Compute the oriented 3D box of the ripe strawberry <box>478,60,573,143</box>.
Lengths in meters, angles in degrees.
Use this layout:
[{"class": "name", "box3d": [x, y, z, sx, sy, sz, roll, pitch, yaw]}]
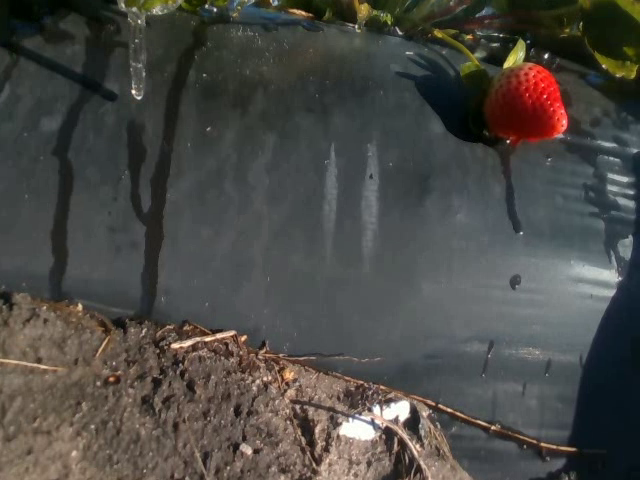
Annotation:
[{"class": "ripe strawberry", "box3d": [0.098, -0.061, 0.252, 0.039, 0.041, 0.053, -6, 41, -12]}]
